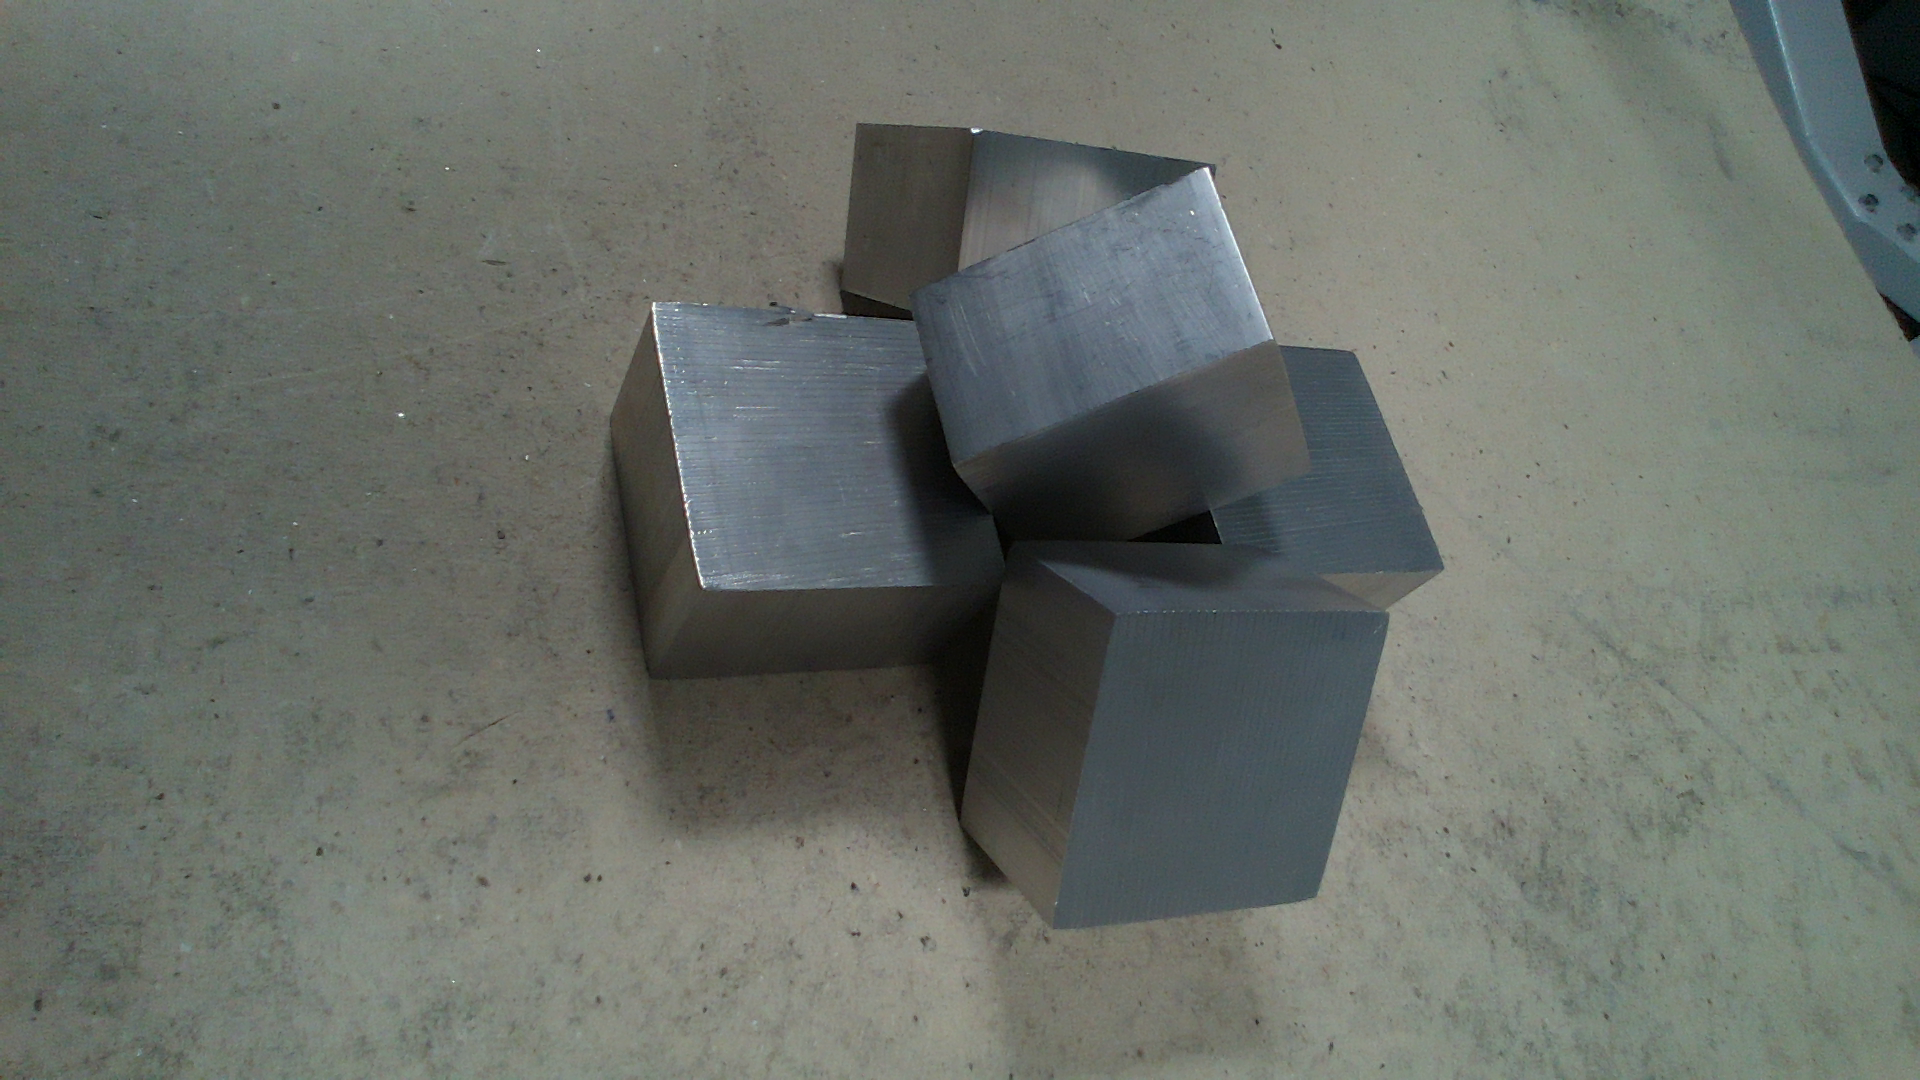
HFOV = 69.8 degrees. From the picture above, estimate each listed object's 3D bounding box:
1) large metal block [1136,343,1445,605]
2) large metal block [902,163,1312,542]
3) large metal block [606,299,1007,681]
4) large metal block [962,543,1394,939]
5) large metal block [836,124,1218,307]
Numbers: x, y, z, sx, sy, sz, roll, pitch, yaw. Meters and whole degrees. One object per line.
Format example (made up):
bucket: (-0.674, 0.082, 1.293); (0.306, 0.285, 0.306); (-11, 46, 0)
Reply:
large metal block: (0.090, -0.015, 0.428); (0.080, 0.050, 0.080); (0, 62, -28)
large metal block: (0.041, -0.040, 0.359); (0.080, 0.080, 0.050); (-20, 65, 12)
large metal block: (-0.042, -0.012, 0.359); (0.080, 0.050, 0.080); (0, 62, -28)
large metal block: (0.053, 0.047, 0.346); (0.080, 0.080, 0.050); (1, 18, -27)
large metal block: (0.017, -0.093, 0.413); (0.080, 0.080, 0.050); (0, 105, -28)
